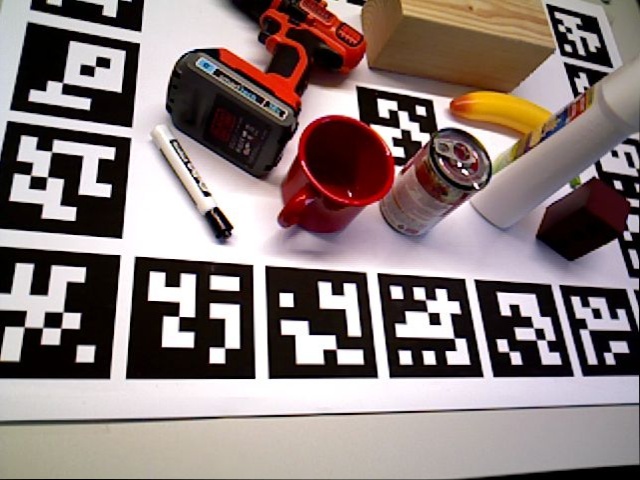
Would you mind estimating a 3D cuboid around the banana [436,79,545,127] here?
[{"bbox_3d":[0.229,-0.151,0.654,0.196,0.039,0.074,19,75,-15],"label":"banana"}]

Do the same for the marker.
[{"bbox_3d":[-0.116,-0.039,0.481,0.019,0.020,0.121,-29,81,-28],"label":"marker"}]

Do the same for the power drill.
[{"bbox_3d":[-0.062,-0.178,0.547,0.184,0.059,0.183,31,58,-10],"label":"power drill"}]

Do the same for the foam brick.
[{"bbox_3d":[0.290,-0.019,0.600,0.052,0.080,0.050,33,56,-2],"label":"foam brick"}]

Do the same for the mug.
[{"bbox_3d":[0.003,-0.049,0.493,0.093,0.083,0.115,43,61,-1],"label":"mug"}]

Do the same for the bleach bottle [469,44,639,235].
[{"bbox_3d":[0.244,-0.103,0.514,0.068,0.256,0.100,30,57,-6],"label":"bleach bottle"}]

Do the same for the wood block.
[{"bbox_3d":[0.153,-0.246,0.641,0.203,0.093,0.089,2,67,-21],"label":"wood block"}]

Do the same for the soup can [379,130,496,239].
[{"bbox_3d":[0.108,-0.053,0.519,0.067,0.104,0.067,11,58,-19],"label":"soup can"}]
